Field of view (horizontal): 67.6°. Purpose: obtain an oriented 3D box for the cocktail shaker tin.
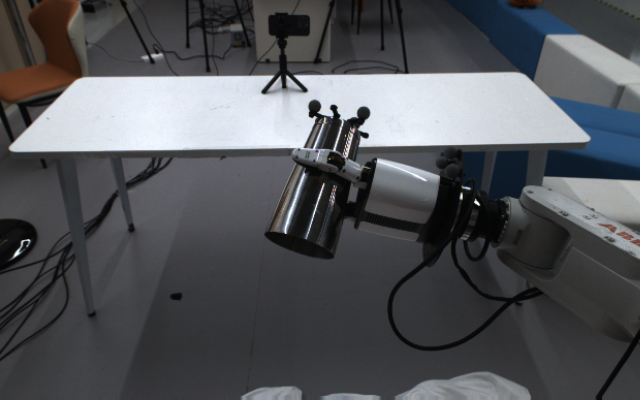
[{"bbox_3d":[-0.002,-0.019,0.628,0.093,0.093,0.170,13,70,15],"label":"cocktail shaker tin"}]
